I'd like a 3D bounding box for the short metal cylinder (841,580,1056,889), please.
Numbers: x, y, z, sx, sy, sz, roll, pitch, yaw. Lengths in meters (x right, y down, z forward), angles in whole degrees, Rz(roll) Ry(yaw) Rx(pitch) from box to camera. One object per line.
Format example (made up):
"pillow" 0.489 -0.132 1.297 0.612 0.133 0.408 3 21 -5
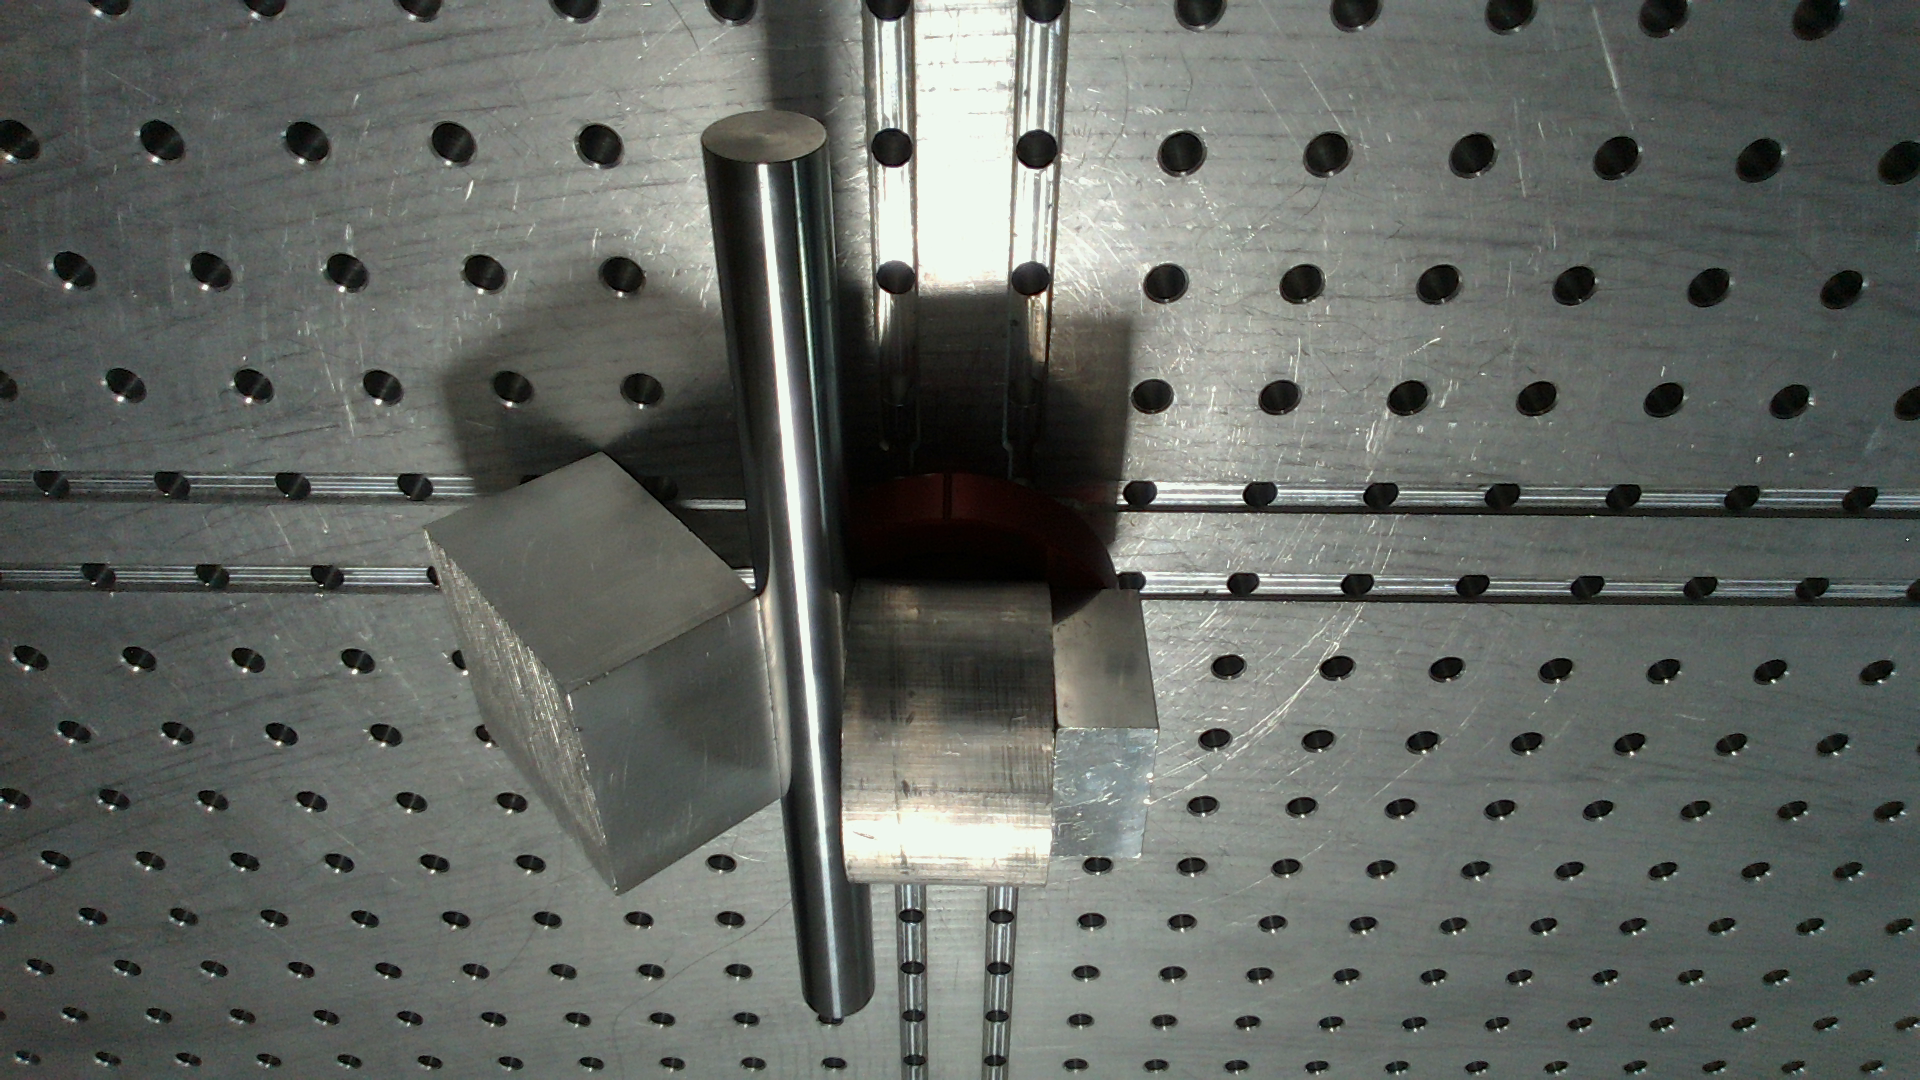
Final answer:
"short metal cylinder" -0.003 0.050 0.360 0.050 0.080 0.080 0 130 0

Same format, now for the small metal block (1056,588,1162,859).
"small metal block" 0.035 0.048 0.363 0.025 0.050 0.050 1 130 -1

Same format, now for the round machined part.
"round machined part" -0.002 0.019 0.397 0.098 0.042 0.098 0 130 0

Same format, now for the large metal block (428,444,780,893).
"large metal block" -0.096 0.034 0.378 0.050 0.080 0.080 -29 138 -30

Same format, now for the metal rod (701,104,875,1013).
"metal rod" -0.040 0.034 0.368 0.025 0.025 0.300 0 130 0
